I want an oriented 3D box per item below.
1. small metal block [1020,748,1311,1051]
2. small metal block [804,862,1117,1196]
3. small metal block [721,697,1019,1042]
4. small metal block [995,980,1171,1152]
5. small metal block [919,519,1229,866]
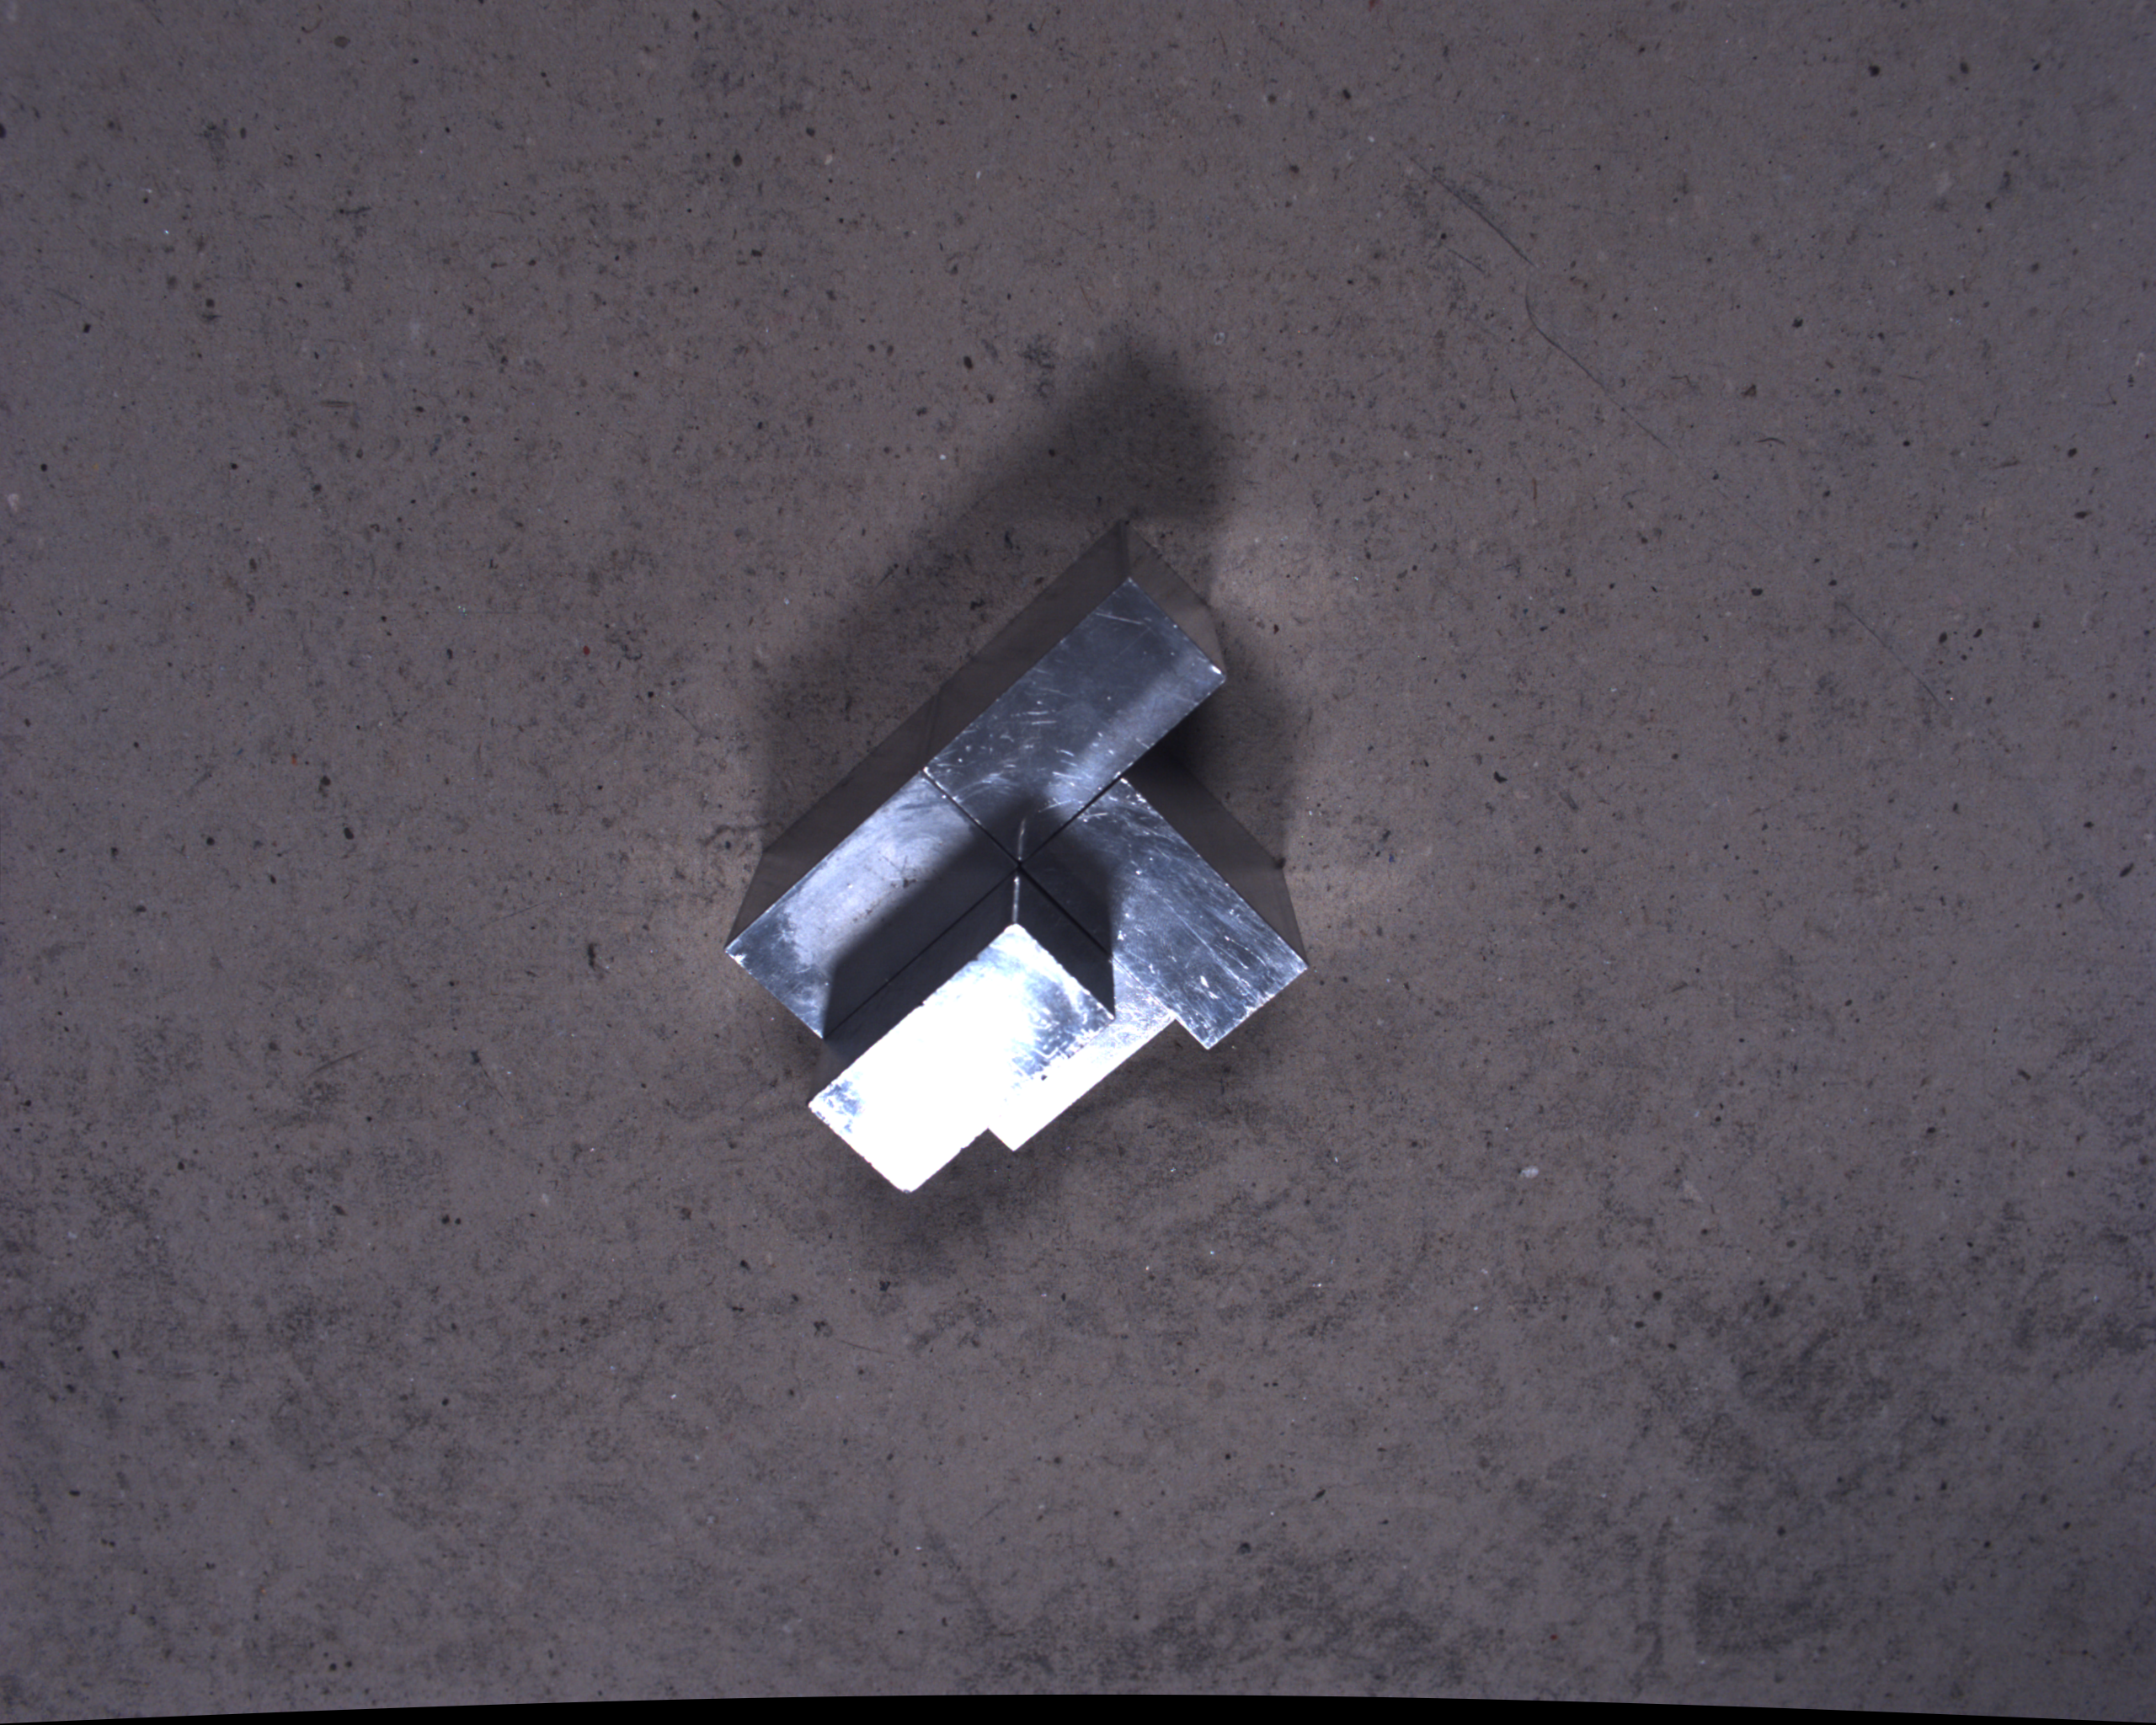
[{"bbox_3d":[0.016,0.001,0.398,0.025,0.050,0.050,-41,105,13],"label":"small metal block"},{"bbox_3d":[-0.020,0.025,0.380,0.050,0.050,0.025,-42,105,13],"label":"small metal block"},{"bbox_3d":[-0.038,0.000,0.397,0.050,0.050,0.025,-42,105,13],"label":"small metal block"},{"bbox_3d":[-0.011,0.021,0.419,0.050,0.025,0.050,-41,106,13],"label":"small metal block"},{"bbox_3d":[-0.001,-0.033,0.385,0.050,0.050,0.025,-42,105,13],"label":"small metal block"}]
